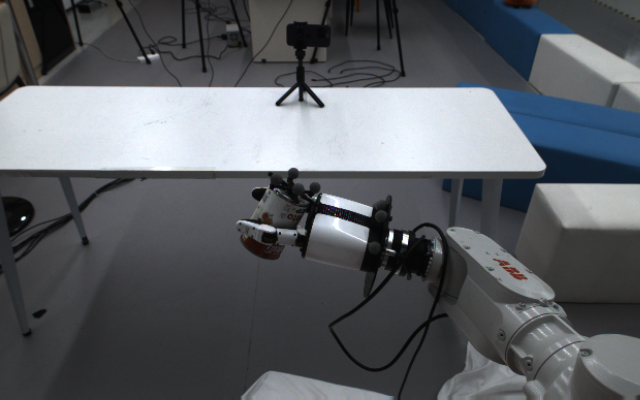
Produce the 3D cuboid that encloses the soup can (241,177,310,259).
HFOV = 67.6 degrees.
[{"bbox_3d":[-0.067,0.030,0.722,0.067,0.101,0.067,28,18,-10],"label":"soup can"}]
